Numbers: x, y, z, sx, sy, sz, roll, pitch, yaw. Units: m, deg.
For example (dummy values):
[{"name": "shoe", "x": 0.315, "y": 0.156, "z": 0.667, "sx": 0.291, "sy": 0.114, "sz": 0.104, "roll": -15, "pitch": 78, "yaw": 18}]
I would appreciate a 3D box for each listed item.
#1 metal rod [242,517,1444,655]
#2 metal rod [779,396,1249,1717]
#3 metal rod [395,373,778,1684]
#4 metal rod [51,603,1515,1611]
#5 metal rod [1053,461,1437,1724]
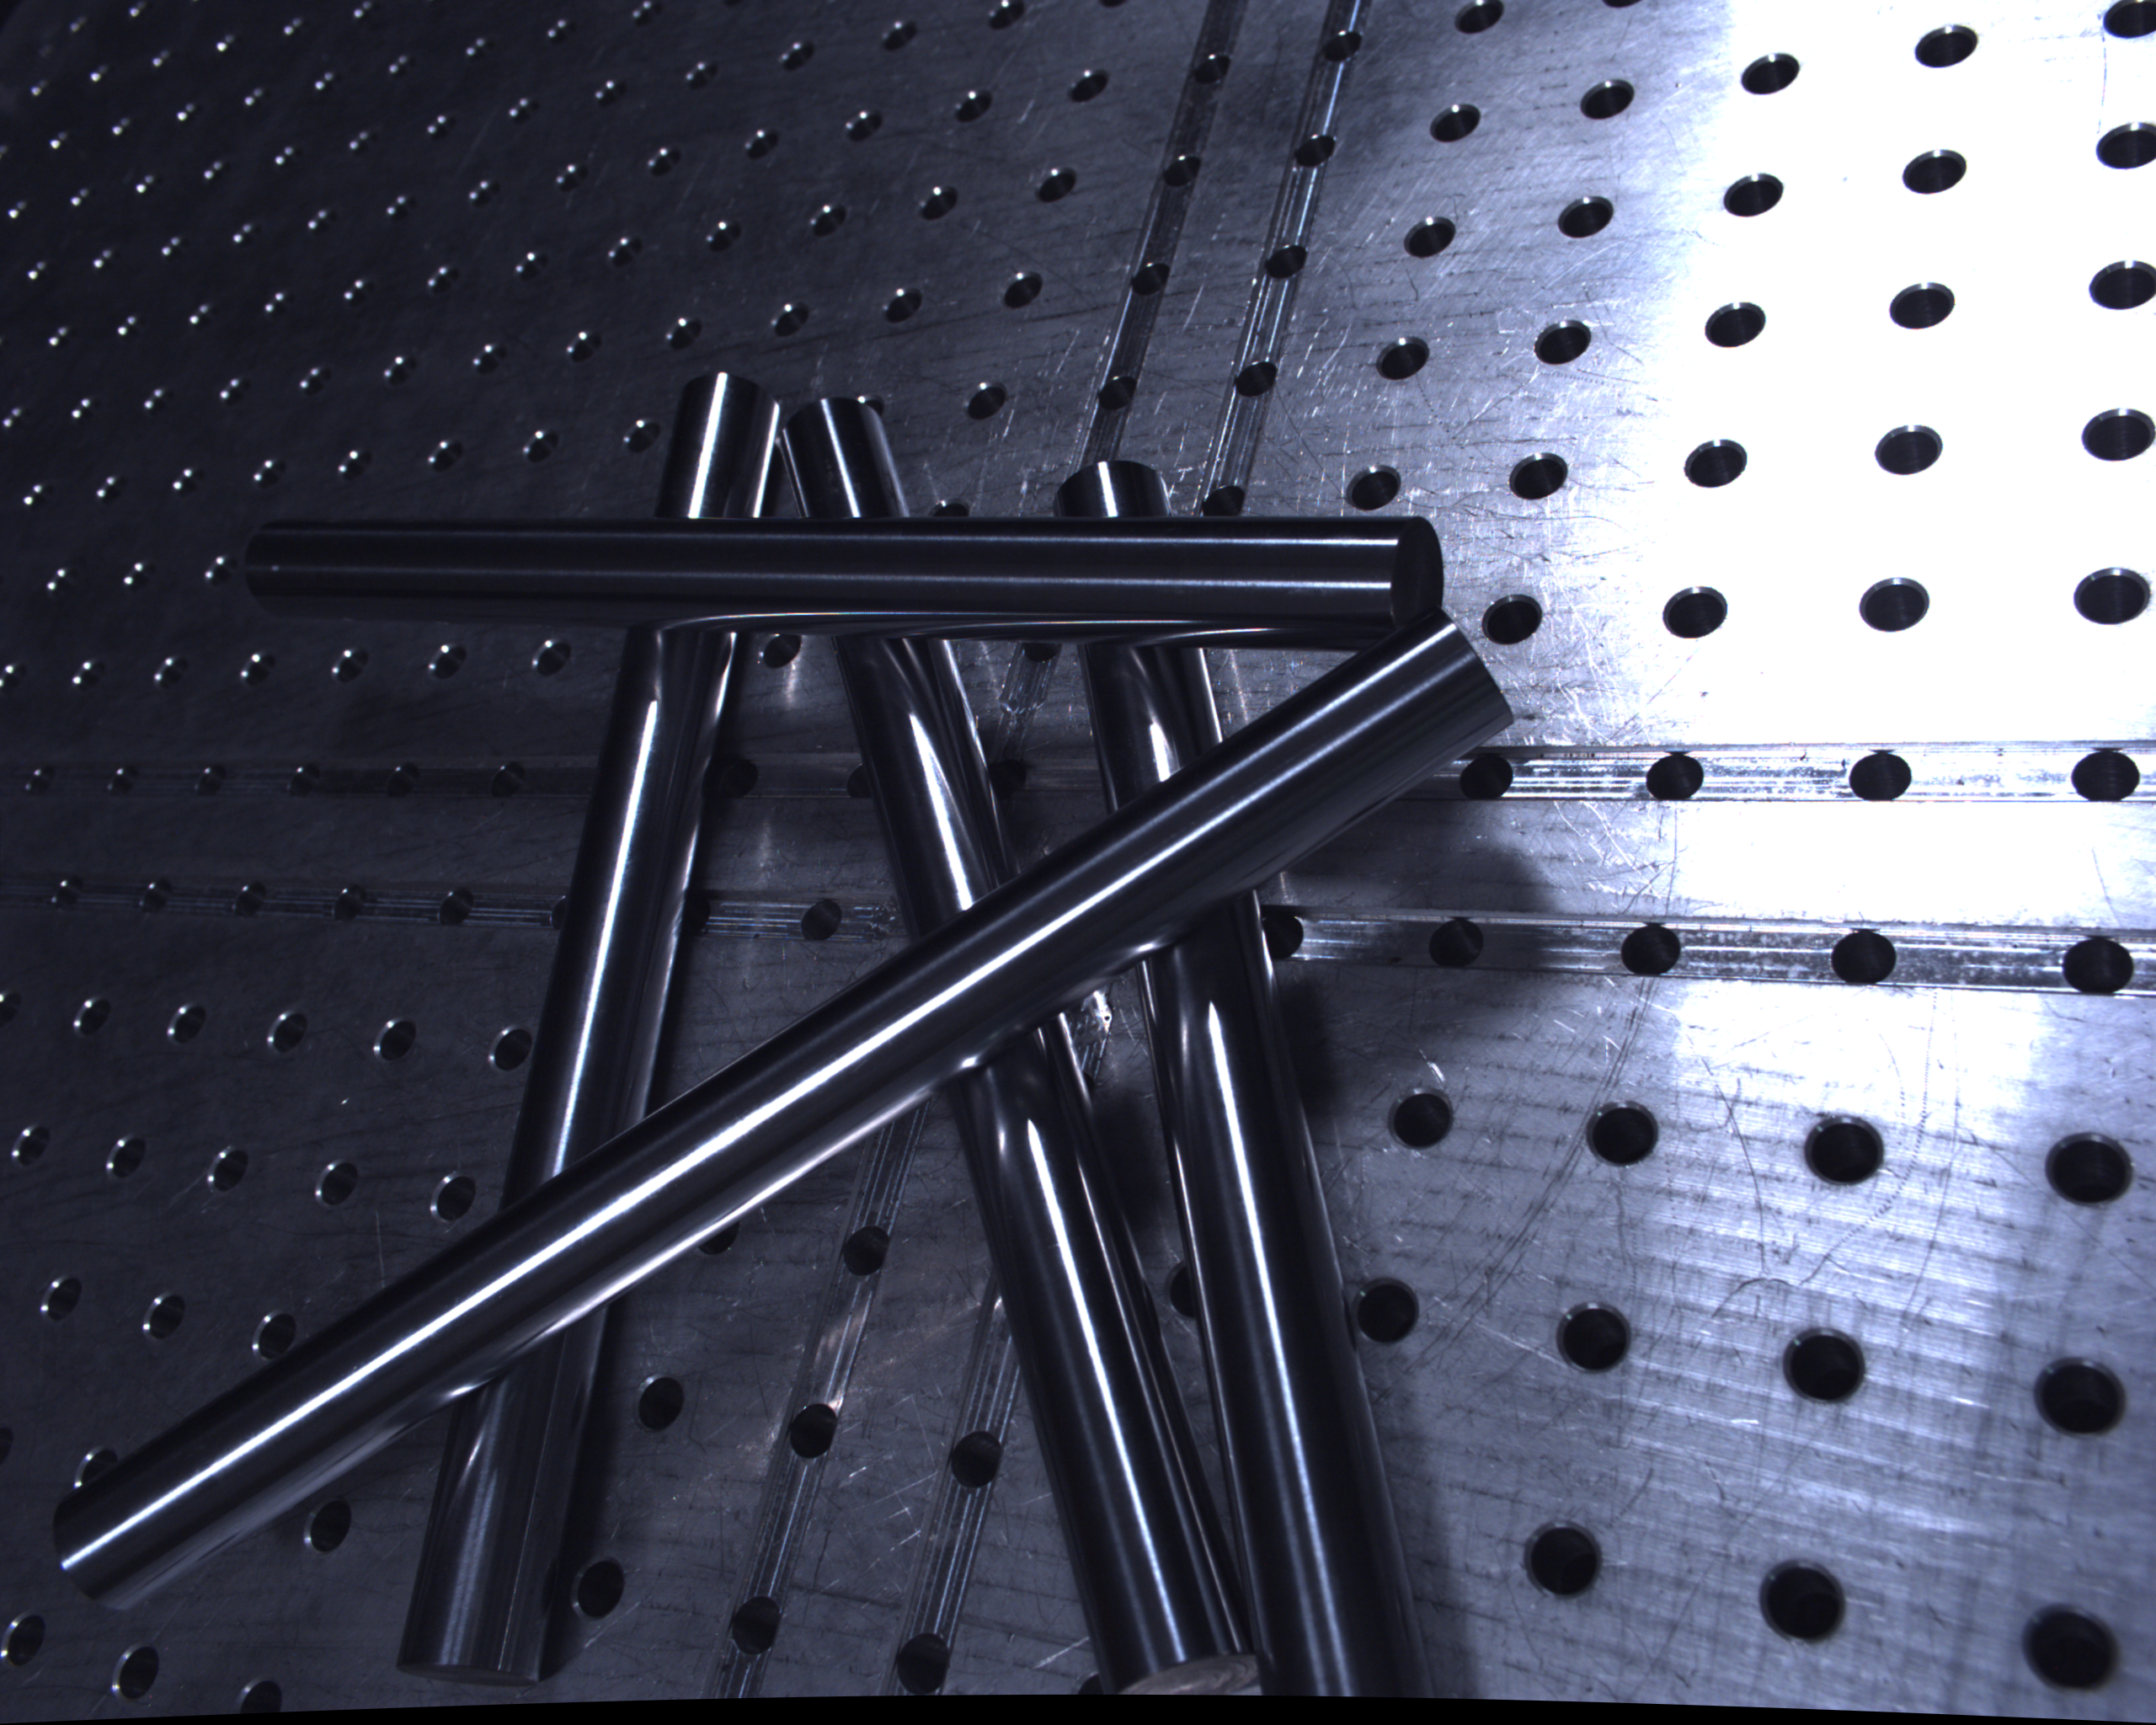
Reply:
[{"name": "metal rod", "x": -0.069, "y": -0.061, "z": 0.448, "sx": 0.300, "sy": 0.025, "sz": 0.025, "roll": 5, "pitch": 64, "yaw": 30}, {"name": "metal rod", "x": -0.021, "y": 0.012, "z": 0.410, "sx": 0.025, "sy": 0.025, "sz": 0.299, "roll": -27, "pitch": 52, "yaw": 11}, {"name": "metal rod", "x": -0.098, "y": 0.016, "z": 0.447, "sx": 0.025, "sy": 0.025, "sz": 0.299, "roll": -9, "pitch": 58, "yaw": 23}, {"name": "metal rod", "x": -0.057, "y": 0.047, "z": 0.375, "sx": 0.300, "sy": 0.025, "sz": 0.025, "roll": -33, "pitch": 52, "yaw": 6}, {"name": "metal rod", "x": 0.027, "y": 0.044, "z": 0.366, "sx": 0.025, "sy": 0.025, "sz": 0.299, "roll": -20, "pitch": 54, "yaw": 16}]
